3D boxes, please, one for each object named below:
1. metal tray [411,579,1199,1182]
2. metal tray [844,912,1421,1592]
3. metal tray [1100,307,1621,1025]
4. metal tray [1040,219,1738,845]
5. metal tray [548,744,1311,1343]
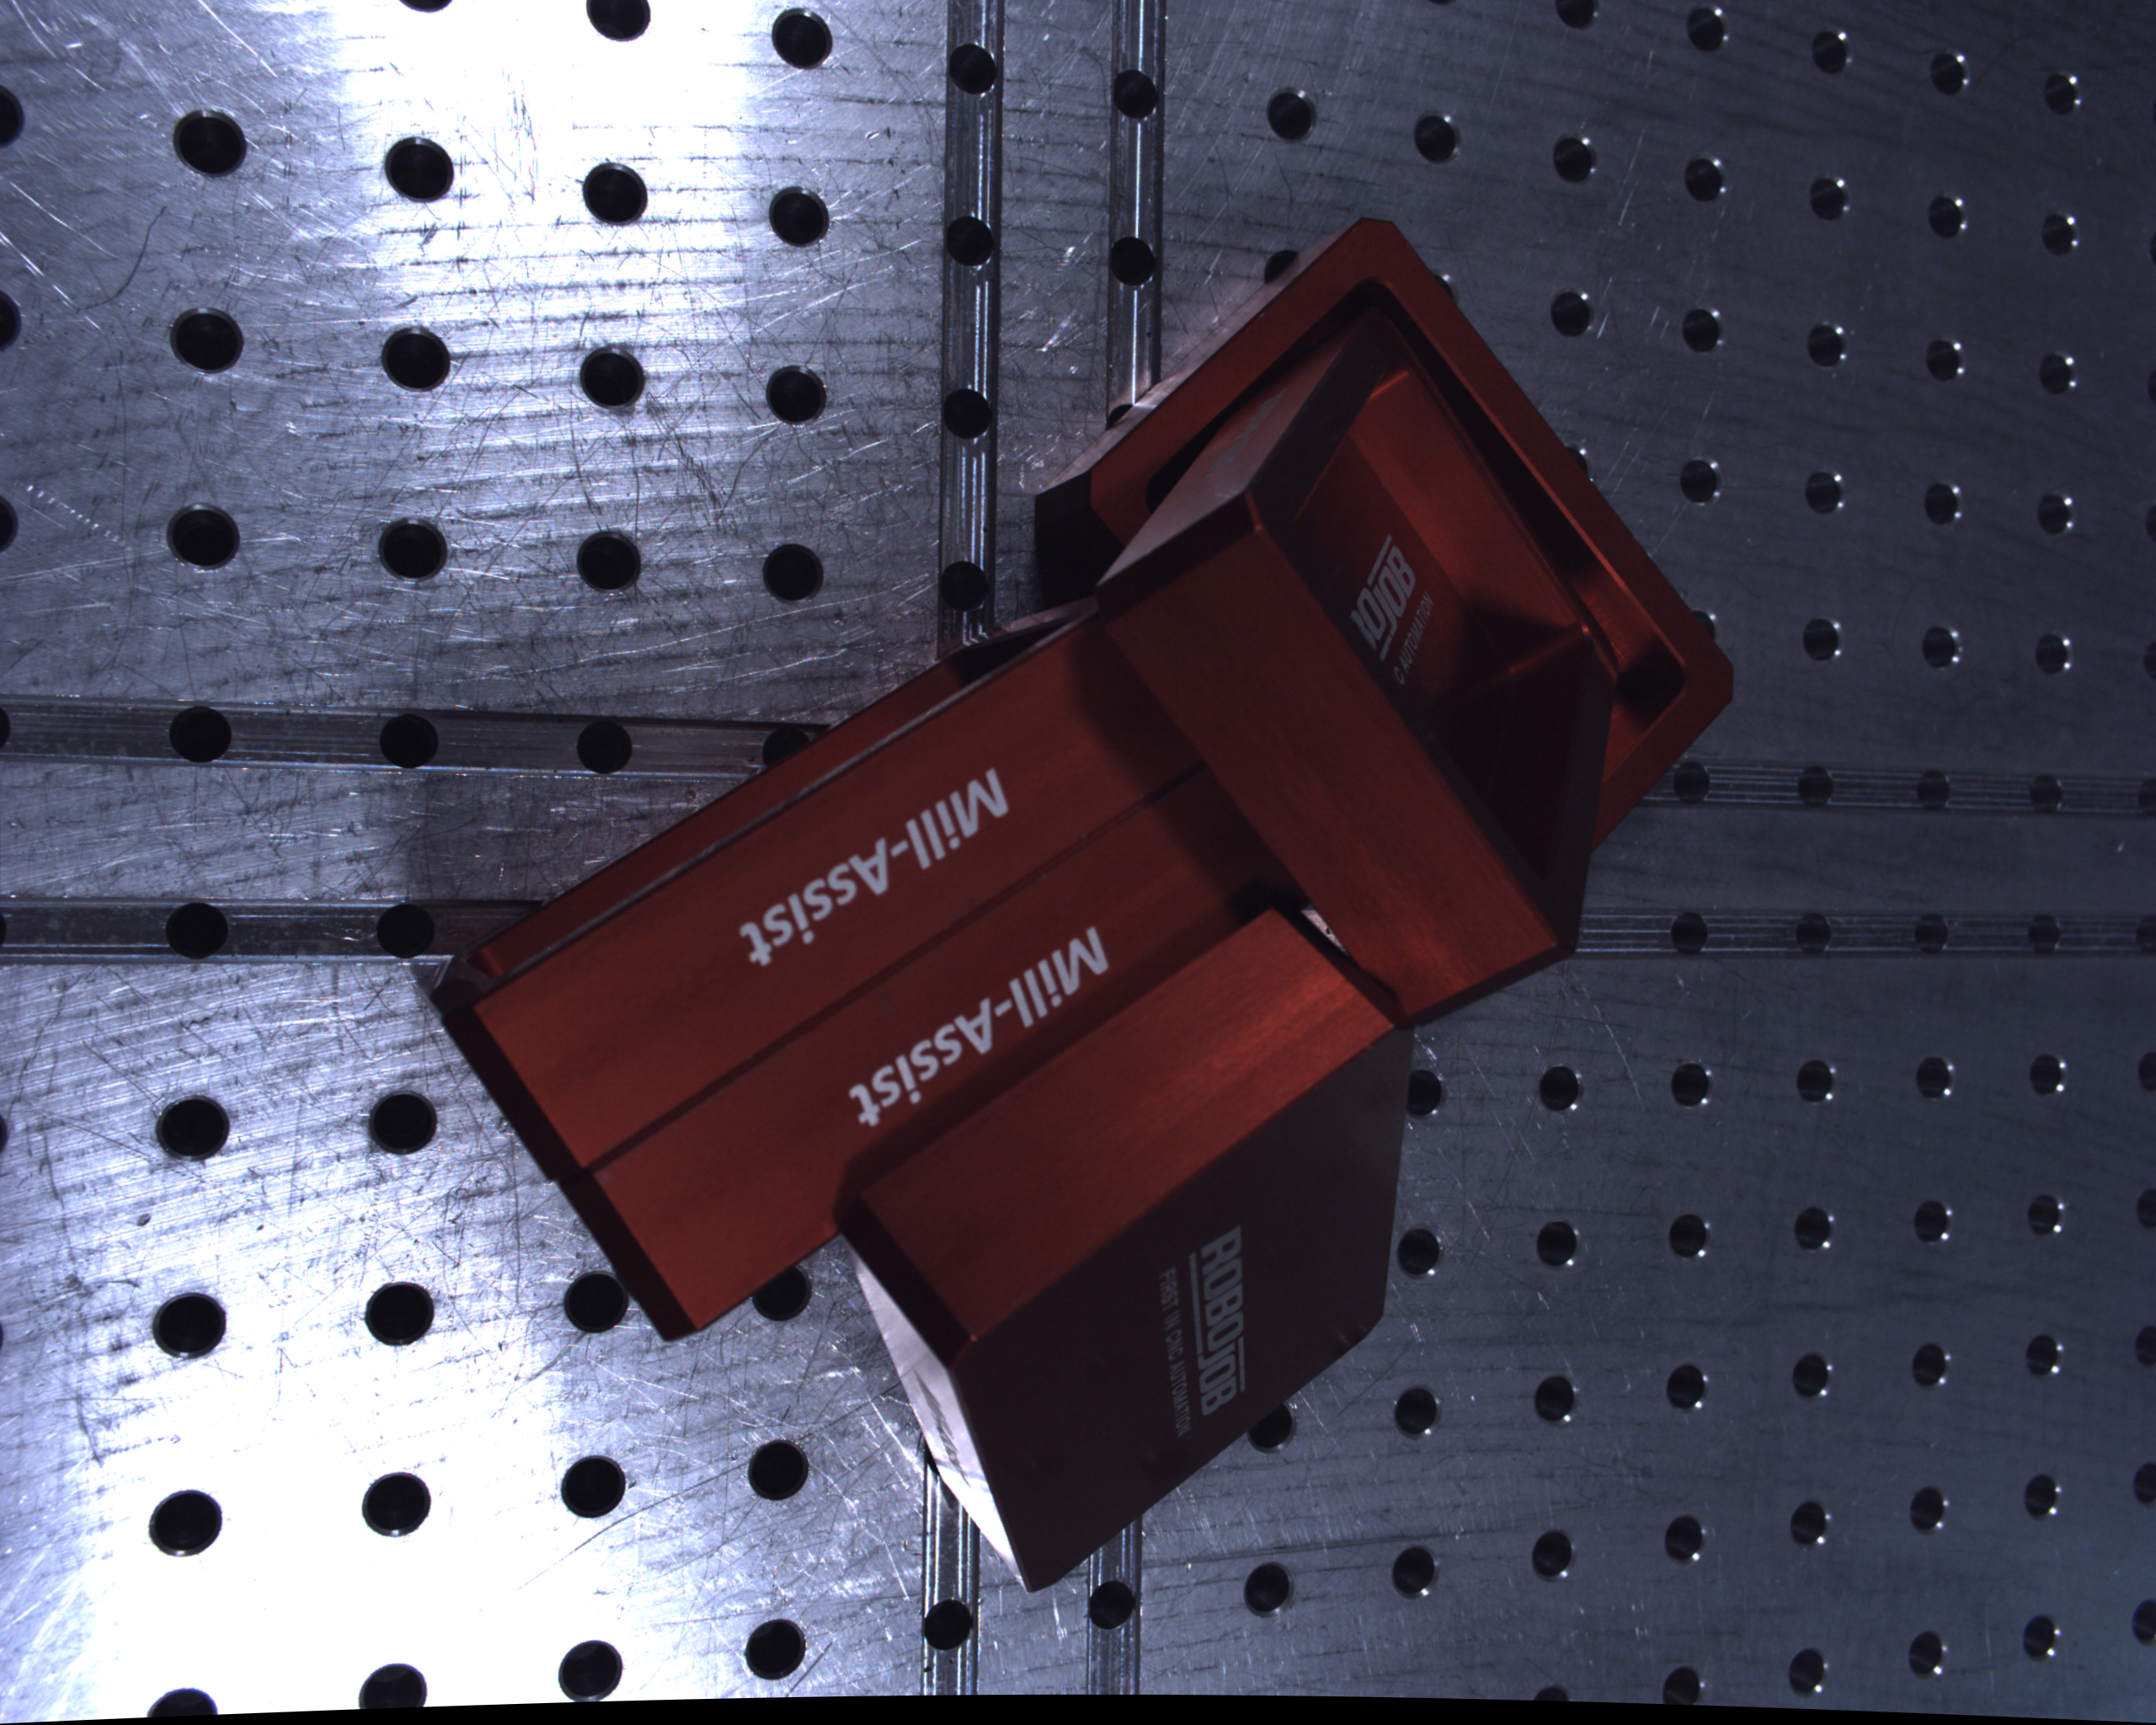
[{"bbox_3d":[-0.048,0.000,0.361,0.131,0.090,0.030,-34,102,-17],"label":"metal tray"},{"bbox_3d":[0.014,0.074,0.370,0.090,0.129,0.030,-34,60,-17],"label":"metal tray"},{"bbox_3d":[0.057,-0.041,0.375,0.090,0.030,0.130,52,30,-13],"label":"metal tray"},{"bbox_3d":[0.067,-0.054,0.435,0.090,0.030,0.130,-46,105,-15],"label":"metal tray"},{"bbox_3d":[-0.031,0.025,0.366,0.131,0.090,0.030,-34,102,-17],"label":"metal tray"}]
